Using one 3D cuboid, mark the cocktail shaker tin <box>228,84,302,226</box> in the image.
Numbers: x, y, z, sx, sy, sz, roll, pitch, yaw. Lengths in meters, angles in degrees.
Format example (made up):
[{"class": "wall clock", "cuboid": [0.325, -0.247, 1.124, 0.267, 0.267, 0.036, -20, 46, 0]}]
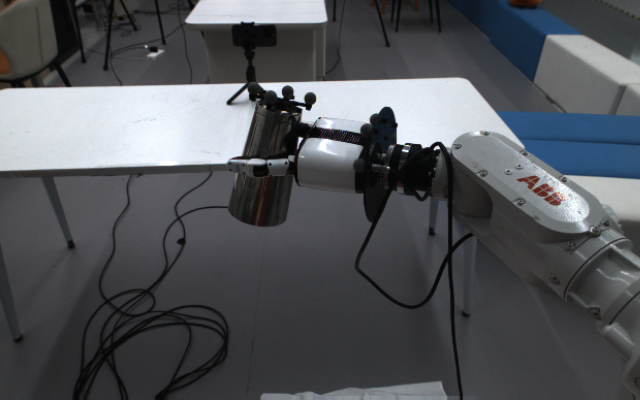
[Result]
[{"class": "cocktail shaker tin", "cuboid": [-0.075, -0.058, 0.713, 0.093, 0.170, 0.093, 12, 24, -5]}]
